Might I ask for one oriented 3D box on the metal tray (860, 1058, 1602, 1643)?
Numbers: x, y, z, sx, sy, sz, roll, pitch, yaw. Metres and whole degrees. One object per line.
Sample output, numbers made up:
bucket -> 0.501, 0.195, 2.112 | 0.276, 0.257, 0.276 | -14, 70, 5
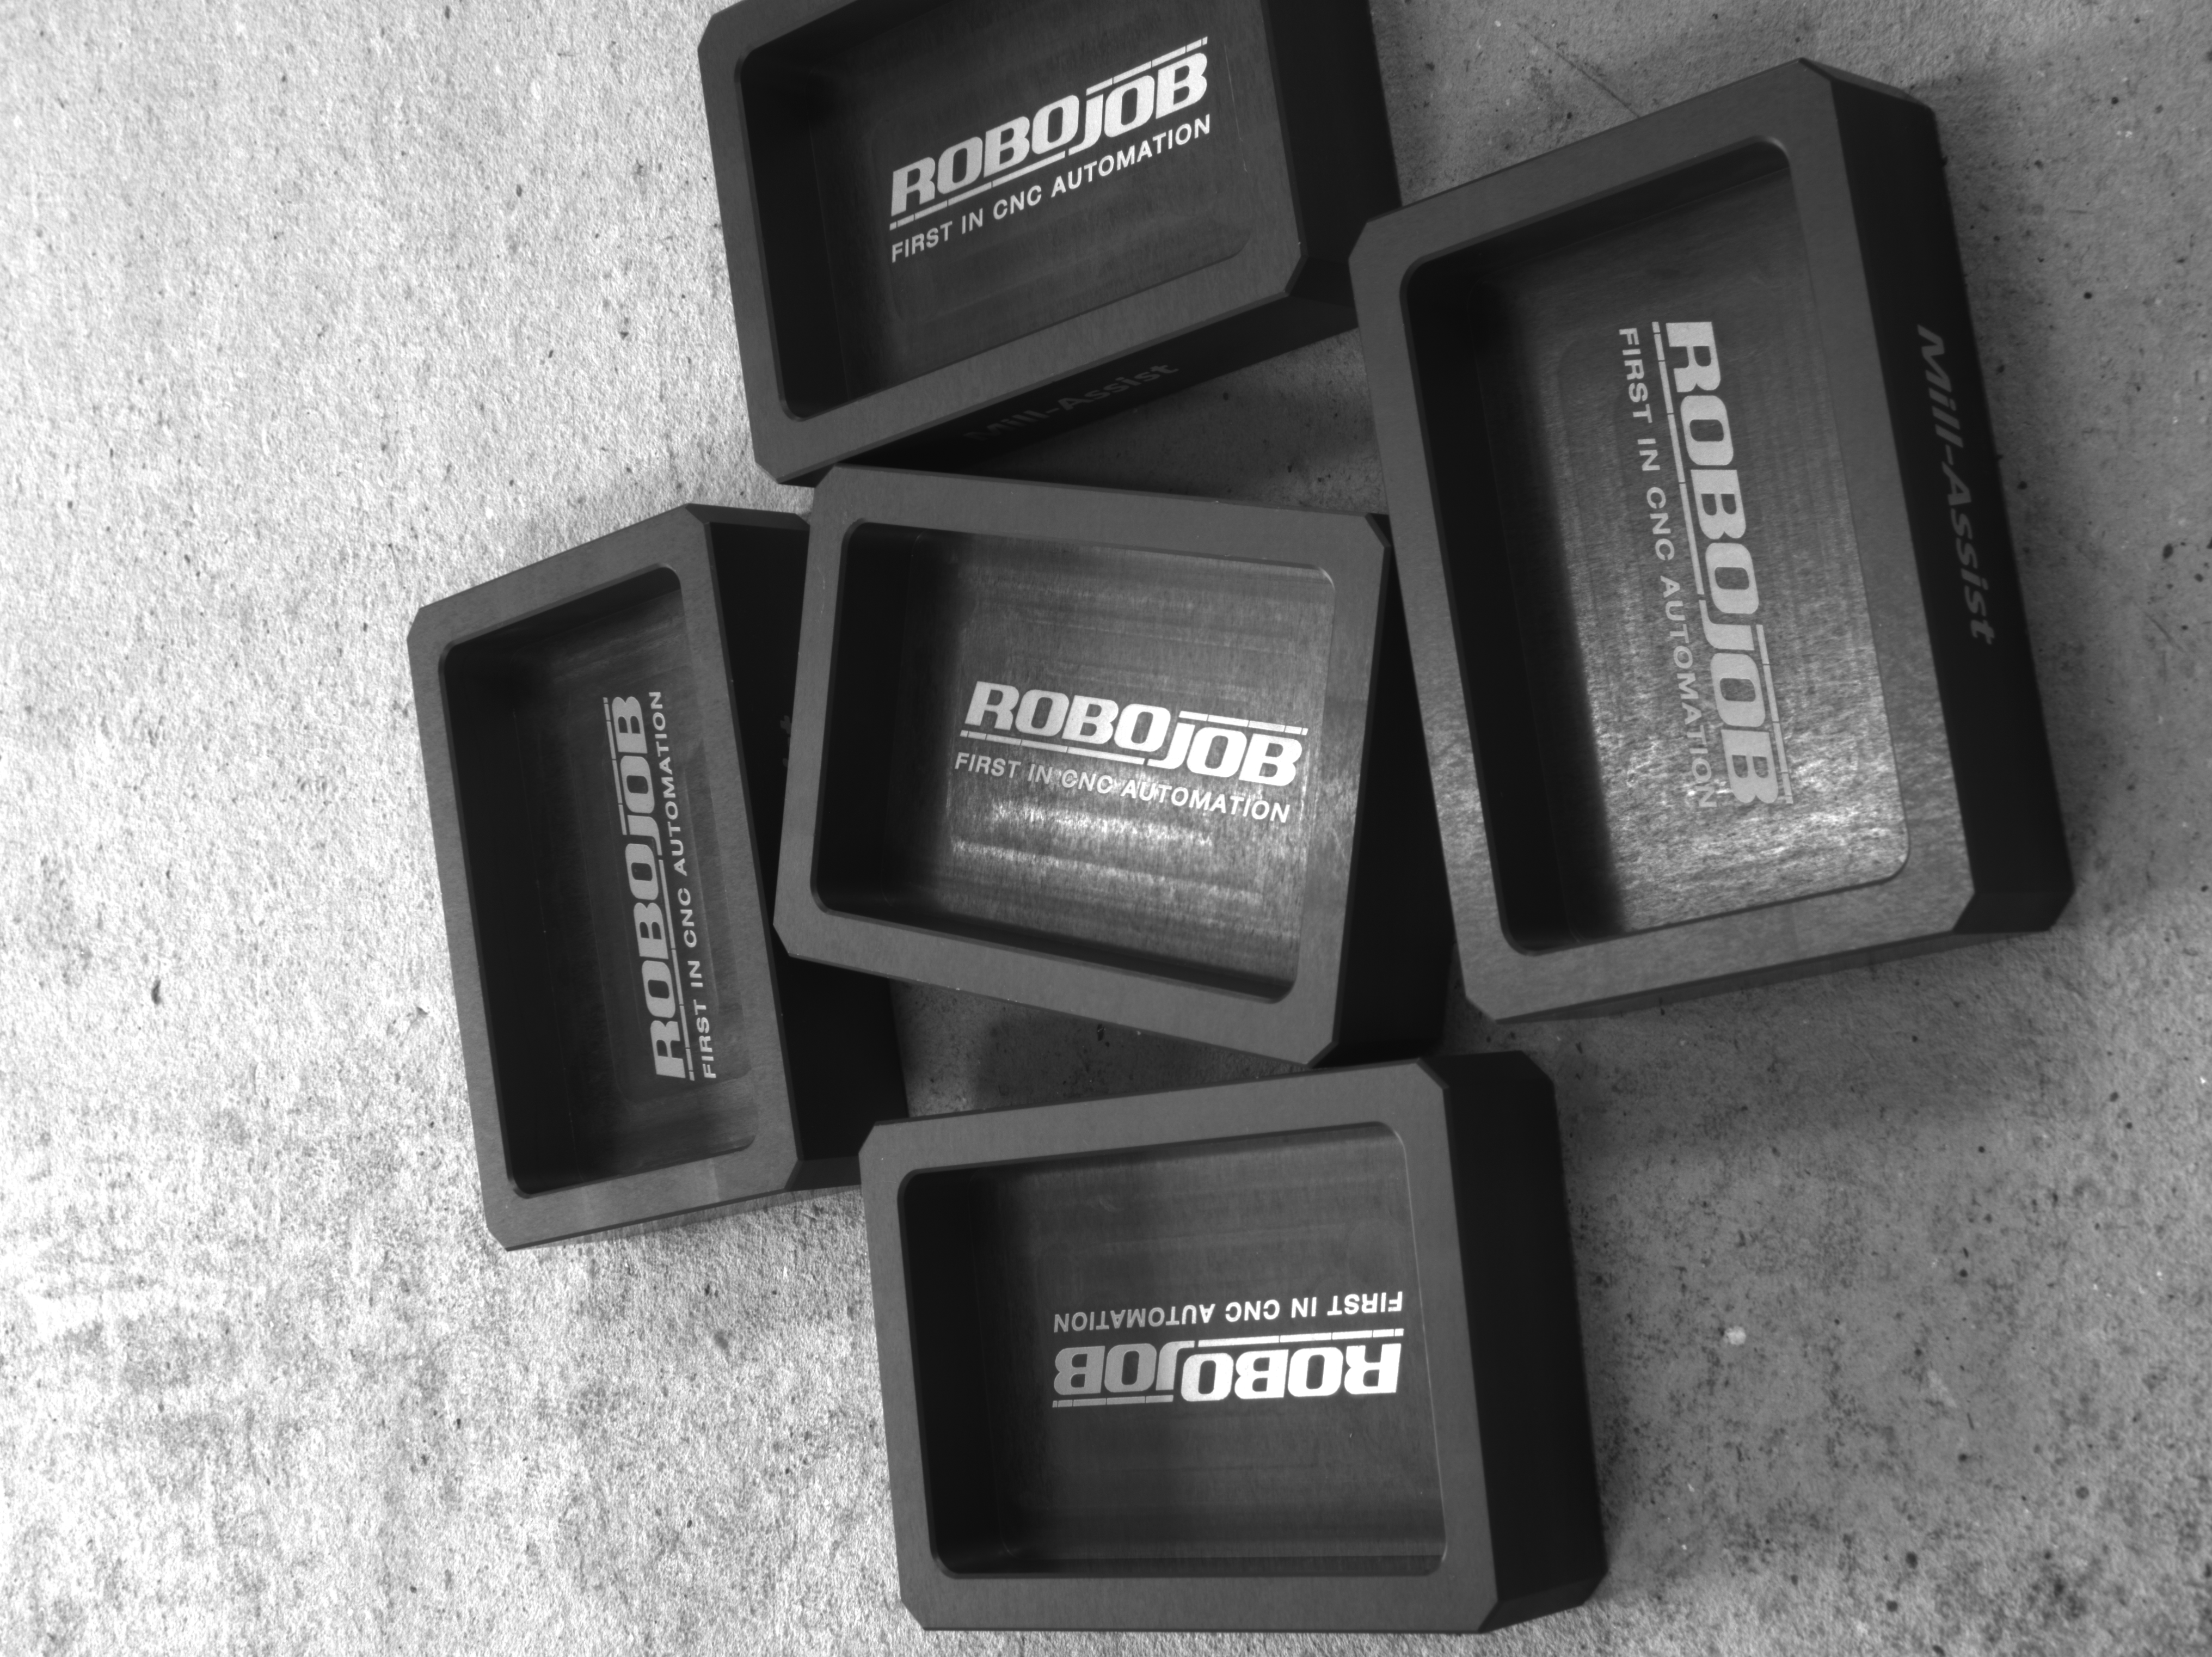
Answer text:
metal tray -> 0.018, 0.090, 0.626 | 0.130, 0.030, 0.090 | -10, 83, 40

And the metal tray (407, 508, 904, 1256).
metal tray -> -0.089, 0.012, 0.717 | 0.090, 0.030, 0.130 | -15, 80, 40

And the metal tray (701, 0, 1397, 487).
metal tray -> -0.012, -0.118, 0.653 | 0.130, 0.030, 0.090 | -15, 81, 40

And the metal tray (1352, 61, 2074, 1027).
metal tray -> 0.091, -0.041, 0.566 | 0.090, 0.030, 0.130 | -14, 81, 40

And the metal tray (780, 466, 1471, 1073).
metal tray -> 0.001, -0.013, 0.641 | 0.130, 0.030, 0.090 | 10, 98, 40
